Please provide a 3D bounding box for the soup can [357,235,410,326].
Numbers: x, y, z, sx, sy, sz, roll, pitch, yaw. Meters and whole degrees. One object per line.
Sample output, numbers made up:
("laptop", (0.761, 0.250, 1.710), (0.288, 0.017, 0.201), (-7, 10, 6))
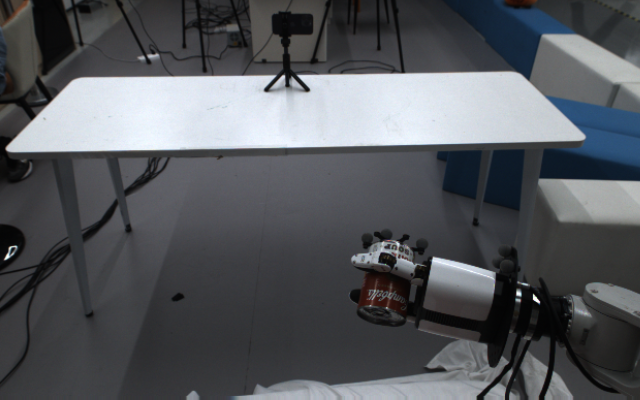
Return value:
("soup can", (0.094, 0.114, 0.668), (0.067, 0.067, 0.101), (9, 58, 10))
